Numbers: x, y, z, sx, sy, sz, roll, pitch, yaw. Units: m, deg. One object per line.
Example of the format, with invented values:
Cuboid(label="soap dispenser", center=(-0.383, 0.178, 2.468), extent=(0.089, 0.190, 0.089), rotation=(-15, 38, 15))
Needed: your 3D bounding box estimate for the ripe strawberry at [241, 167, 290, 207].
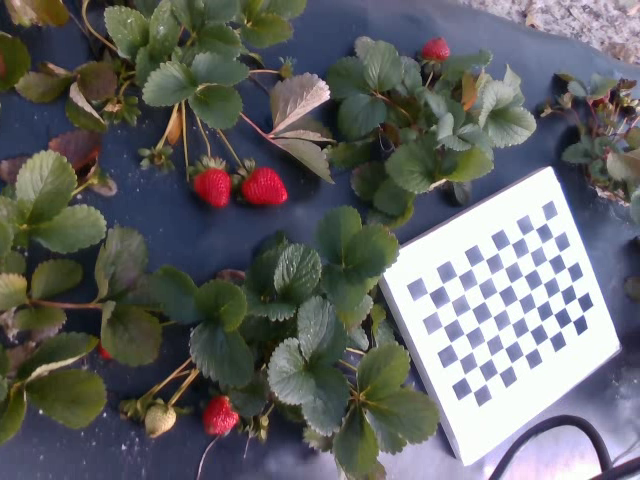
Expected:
Cuboid(label="ripe strawberry", center=(-0.066, -0.066, 0.693), extent=(0.064, 0.057, 0.051), rotation=(34, -22, 18))

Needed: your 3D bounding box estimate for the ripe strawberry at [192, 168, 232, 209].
Cuboid(label="ripe strawberry", center=(-0.126, -0.062, 0.674), extent=(0.049, 0.055, 0.041), rotation=(-12, -24, -23))
